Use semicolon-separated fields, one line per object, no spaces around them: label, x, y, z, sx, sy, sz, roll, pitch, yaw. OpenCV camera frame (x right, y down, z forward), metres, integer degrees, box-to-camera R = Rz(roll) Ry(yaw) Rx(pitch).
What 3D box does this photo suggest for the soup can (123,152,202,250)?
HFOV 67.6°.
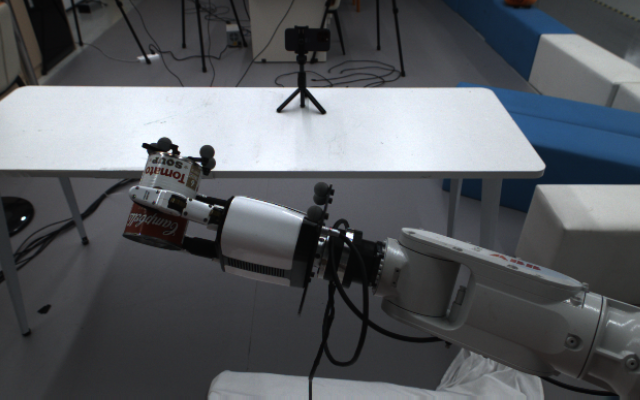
soup can;-0.183;0.004;0.572;0.067;0.067;0.101;8;74;9
